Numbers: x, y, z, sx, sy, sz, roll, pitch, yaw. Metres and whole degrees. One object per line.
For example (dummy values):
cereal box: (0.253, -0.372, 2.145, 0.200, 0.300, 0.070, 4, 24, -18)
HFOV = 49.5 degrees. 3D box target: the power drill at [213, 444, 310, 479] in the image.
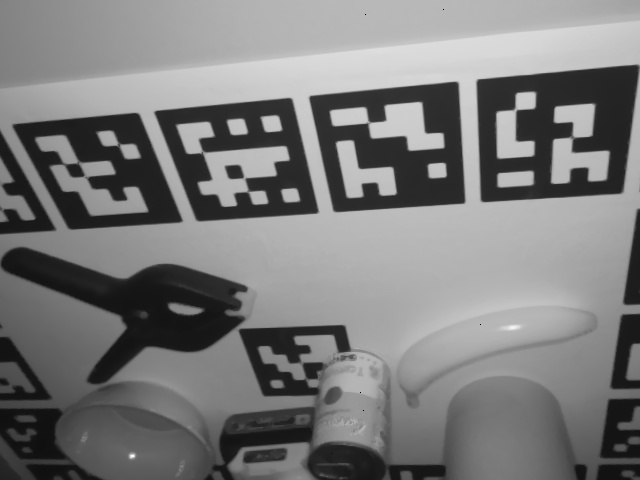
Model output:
power drill: (-0.083, 0.288, 0.655, 0.183, 0.189, 0.057, -6, 126, 12)

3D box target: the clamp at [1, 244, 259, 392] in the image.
clamp: (-0.153, 0.067, 0.606, 0.202, 0.037, 0.164, -5, 122, 10)

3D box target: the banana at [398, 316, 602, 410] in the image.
banana: (0.144, 0.102, 0.610, 0.195, 0.039, 0.074, -24, 129, 24)

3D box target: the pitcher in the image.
pitcher: (0.146, 0.254, 0.593, 0.186, 0.245, 0.133, -24, 124, 23)

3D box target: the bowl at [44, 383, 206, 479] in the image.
bowl: (-0.189, 0.197, 0.705, 0.161, 0.056, 0.160, 2, 126, 4)

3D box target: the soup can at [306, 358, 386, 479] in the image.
soup can: (0.026, 0.168, 0.631, 0.068, 0.103, 0.067, 3, 135, 3)
